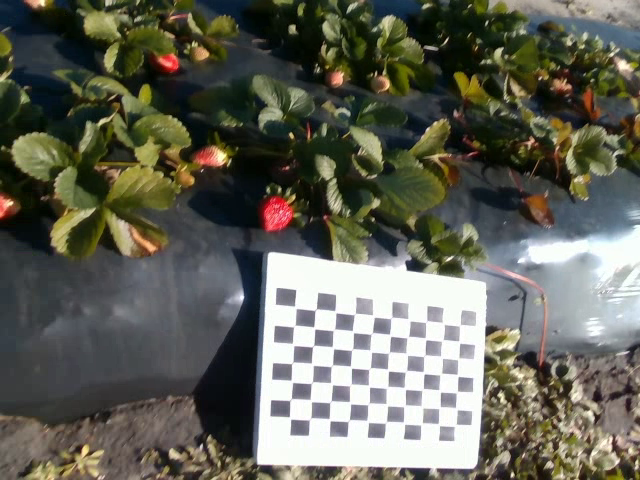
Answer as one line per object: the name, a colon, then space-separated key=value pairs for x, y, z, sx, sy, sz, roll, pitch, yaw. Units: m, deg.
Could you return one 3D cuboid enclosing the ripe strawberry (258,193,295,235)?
ripe strawberry: x=-0.058 y=-0.054 z=0.854 sx=0.058 sy=0.066 sz=0.062 roll=-39 pitch=5 yaw=4
